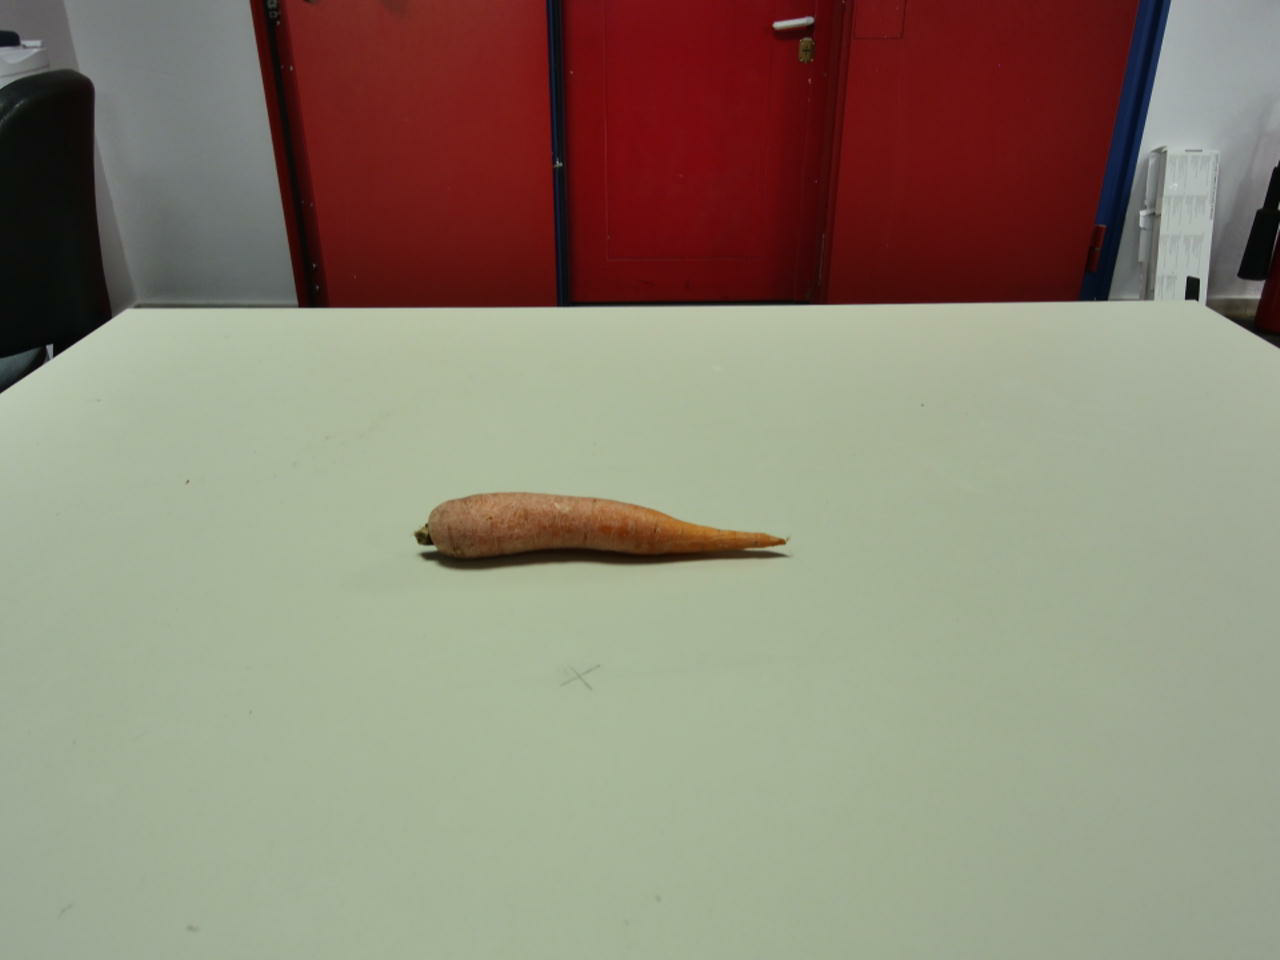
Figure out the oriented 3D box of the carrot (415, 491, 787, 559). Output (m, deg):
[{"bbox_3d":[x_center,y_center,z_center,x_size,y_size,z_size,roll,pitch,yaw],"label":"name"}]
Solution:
[{"bbox_3d":[-0.017,0.020,0.440,0.163,0.029,0.031,0,25,0],"label":"carrot"}]
